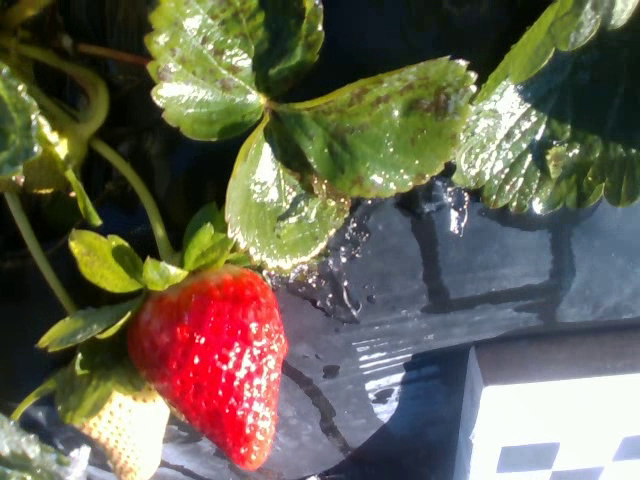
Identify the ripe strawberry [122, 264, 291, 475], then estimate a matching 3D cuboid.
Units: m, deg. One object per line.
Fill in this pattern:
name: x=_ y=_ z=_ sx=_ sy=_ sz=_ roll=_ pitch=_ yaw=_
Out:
ripe strawberry: x=-0.024 y=0.039 z=0.167 sx=0.042 sy=0.061 sz=0.046 roll=-15 pitch=1 yaw=11
